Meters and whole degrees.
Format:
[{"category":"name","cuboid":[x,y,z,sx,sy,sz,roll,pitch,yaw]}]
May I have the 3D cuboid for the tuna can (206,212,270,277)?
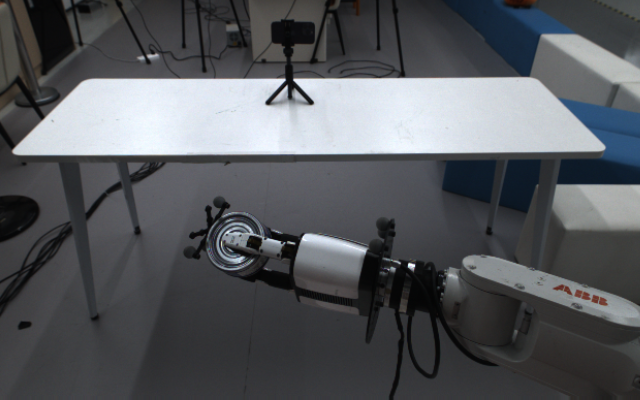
[{"category":"tuna can","cuboid":[-0.106,0.065,0.652,0.085,0.034,0.085,-3,70,9]}]
